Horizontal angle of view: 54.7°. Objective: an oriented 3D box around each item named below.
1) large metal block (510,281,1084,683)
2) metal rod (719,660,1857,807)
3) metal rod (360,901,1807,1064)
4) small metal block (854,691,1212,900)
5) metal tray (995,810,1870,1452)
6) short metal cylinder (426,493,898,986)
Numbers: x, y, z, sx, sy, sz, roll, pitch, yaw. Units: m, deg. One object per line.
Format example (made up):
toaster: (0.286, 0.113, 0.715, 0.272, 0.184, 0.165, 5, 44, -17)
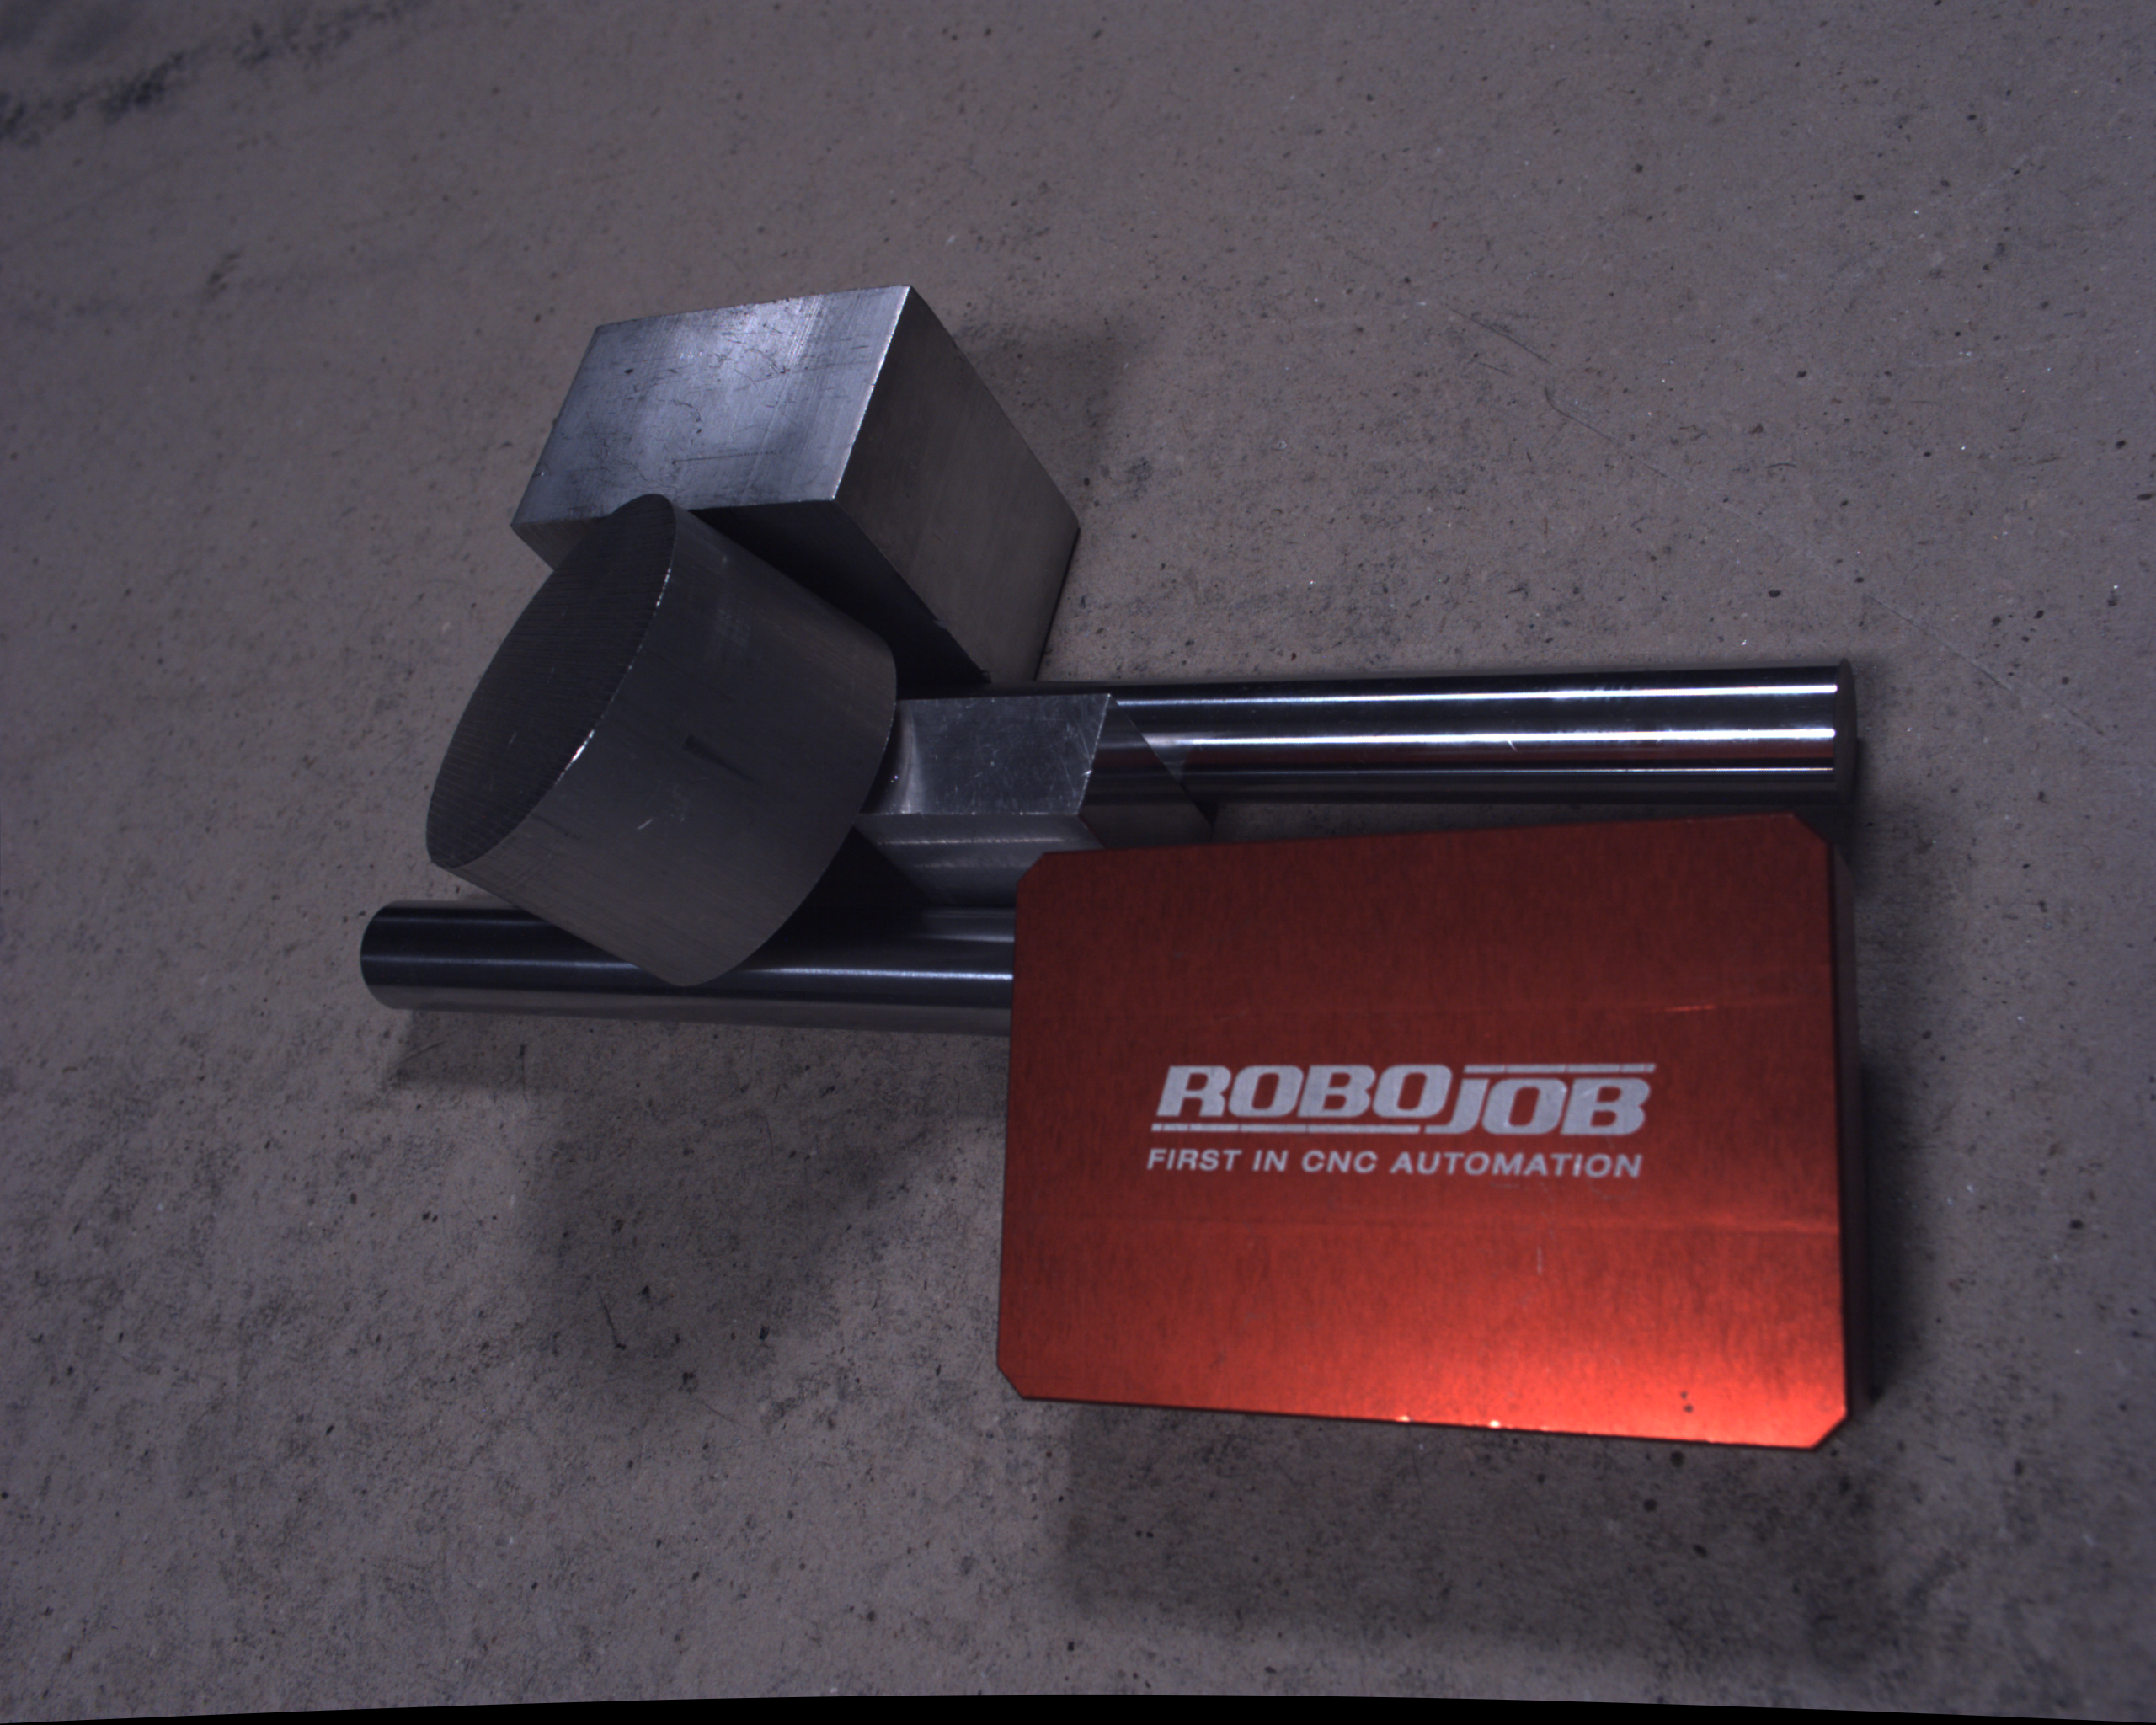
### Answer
large metal block: (-0.057, -0.073, 0.443, 0.080, 0.080, 0.050, 1, 62, 28)
metal rod: (-0.003, -0.024, 0.421, 0.300, 0.025, 0.025, 1, 62, 28)
metal rod: (-0.019, 0.021, 0.402, 0.300, 0.025, 0.025, 0, 62, 27)
small metal block: (-0.009, -0.008, 0.397, 0.050, 0.050, 0.025, 1, 62, 28)
metal tray: (0.053, 0.042, 0.330, 0.130, 0.030, 0.090, -3, 78, 25)
short metal cylinder: (-0.080, -0.023, 0.398, 0.080, 0.050, 0.080, -35, 37, 33)
